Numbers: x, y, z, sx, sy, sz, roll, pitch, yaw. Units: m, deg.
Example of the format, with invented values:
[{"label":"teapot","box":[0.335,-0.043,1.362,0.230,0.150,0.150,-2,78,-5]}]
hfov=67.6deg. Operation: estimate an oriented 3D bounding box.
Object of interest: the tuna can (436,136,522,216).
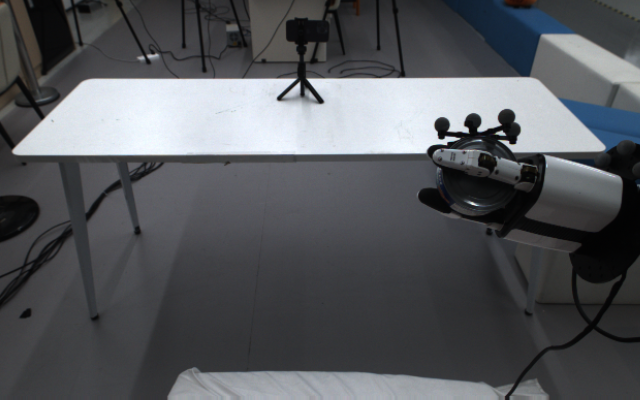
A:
[{"label":"tuna can","box":[0.176,-0.029,0.538,0.085,0.034,0.085,0,74,1]}]
